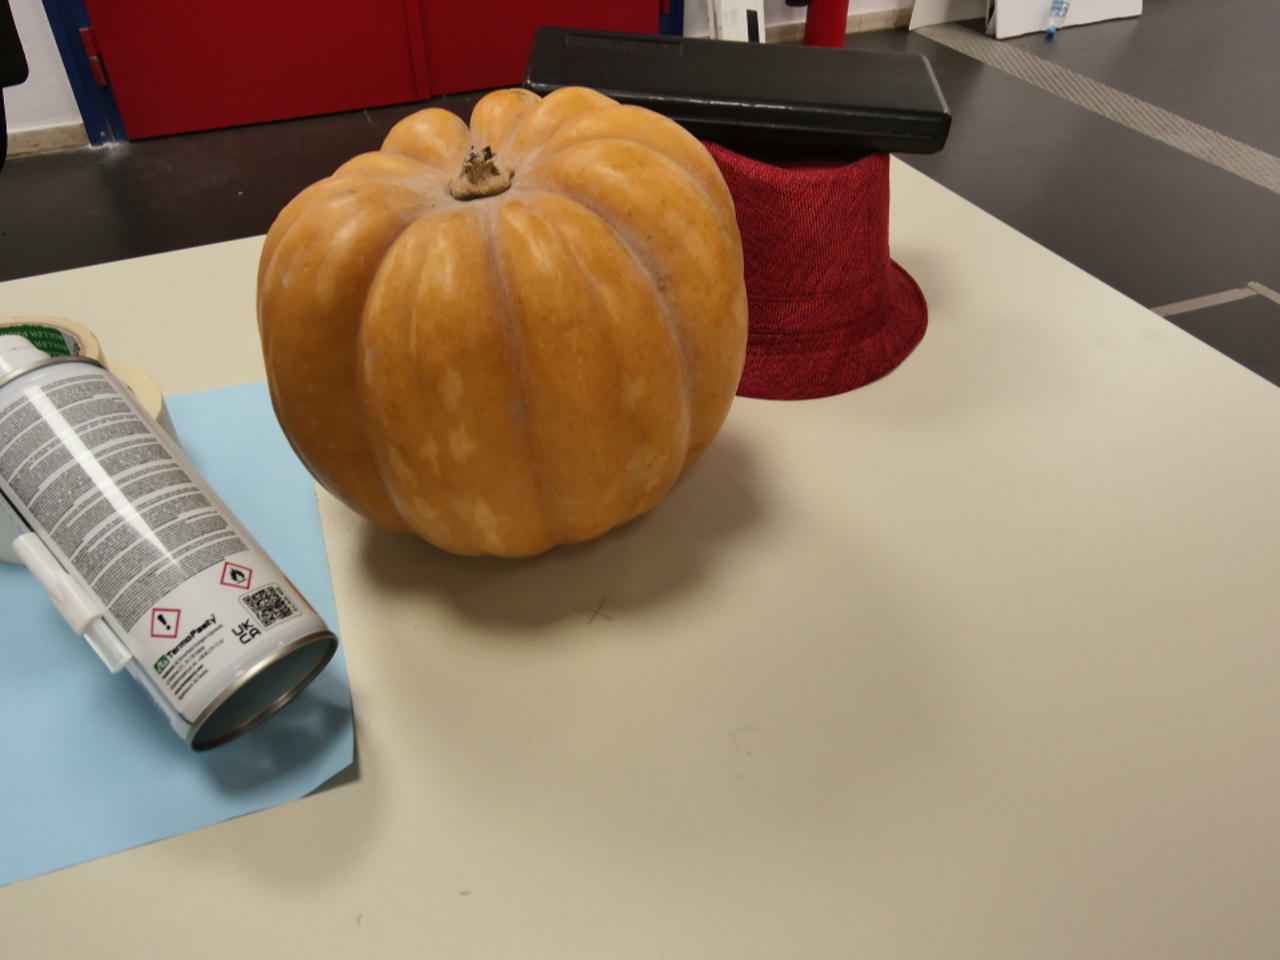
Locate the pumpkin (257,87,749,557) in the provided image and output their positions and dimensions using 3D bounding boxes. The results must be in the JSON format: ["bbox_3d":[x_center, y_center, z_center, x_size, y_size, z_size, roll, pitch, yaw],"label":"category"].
[{"bbox_3d":[-0.058,-0.073,0.472,0.230,0.194,0.230,0,39,0],"label":"pumpkin"}]
